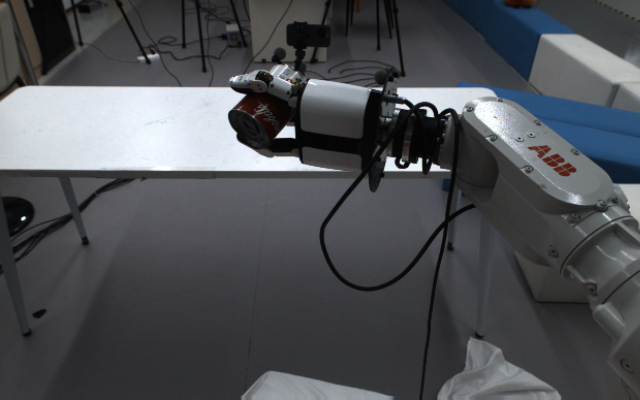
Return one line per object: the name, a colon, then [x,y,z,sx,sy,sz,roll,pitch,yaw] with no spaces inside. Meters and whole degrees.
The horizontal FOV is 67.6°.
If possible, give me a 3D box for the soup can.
soup can: [-0.067,-0.129,0.656,0.067,0.067,0.101,22,61,27]
